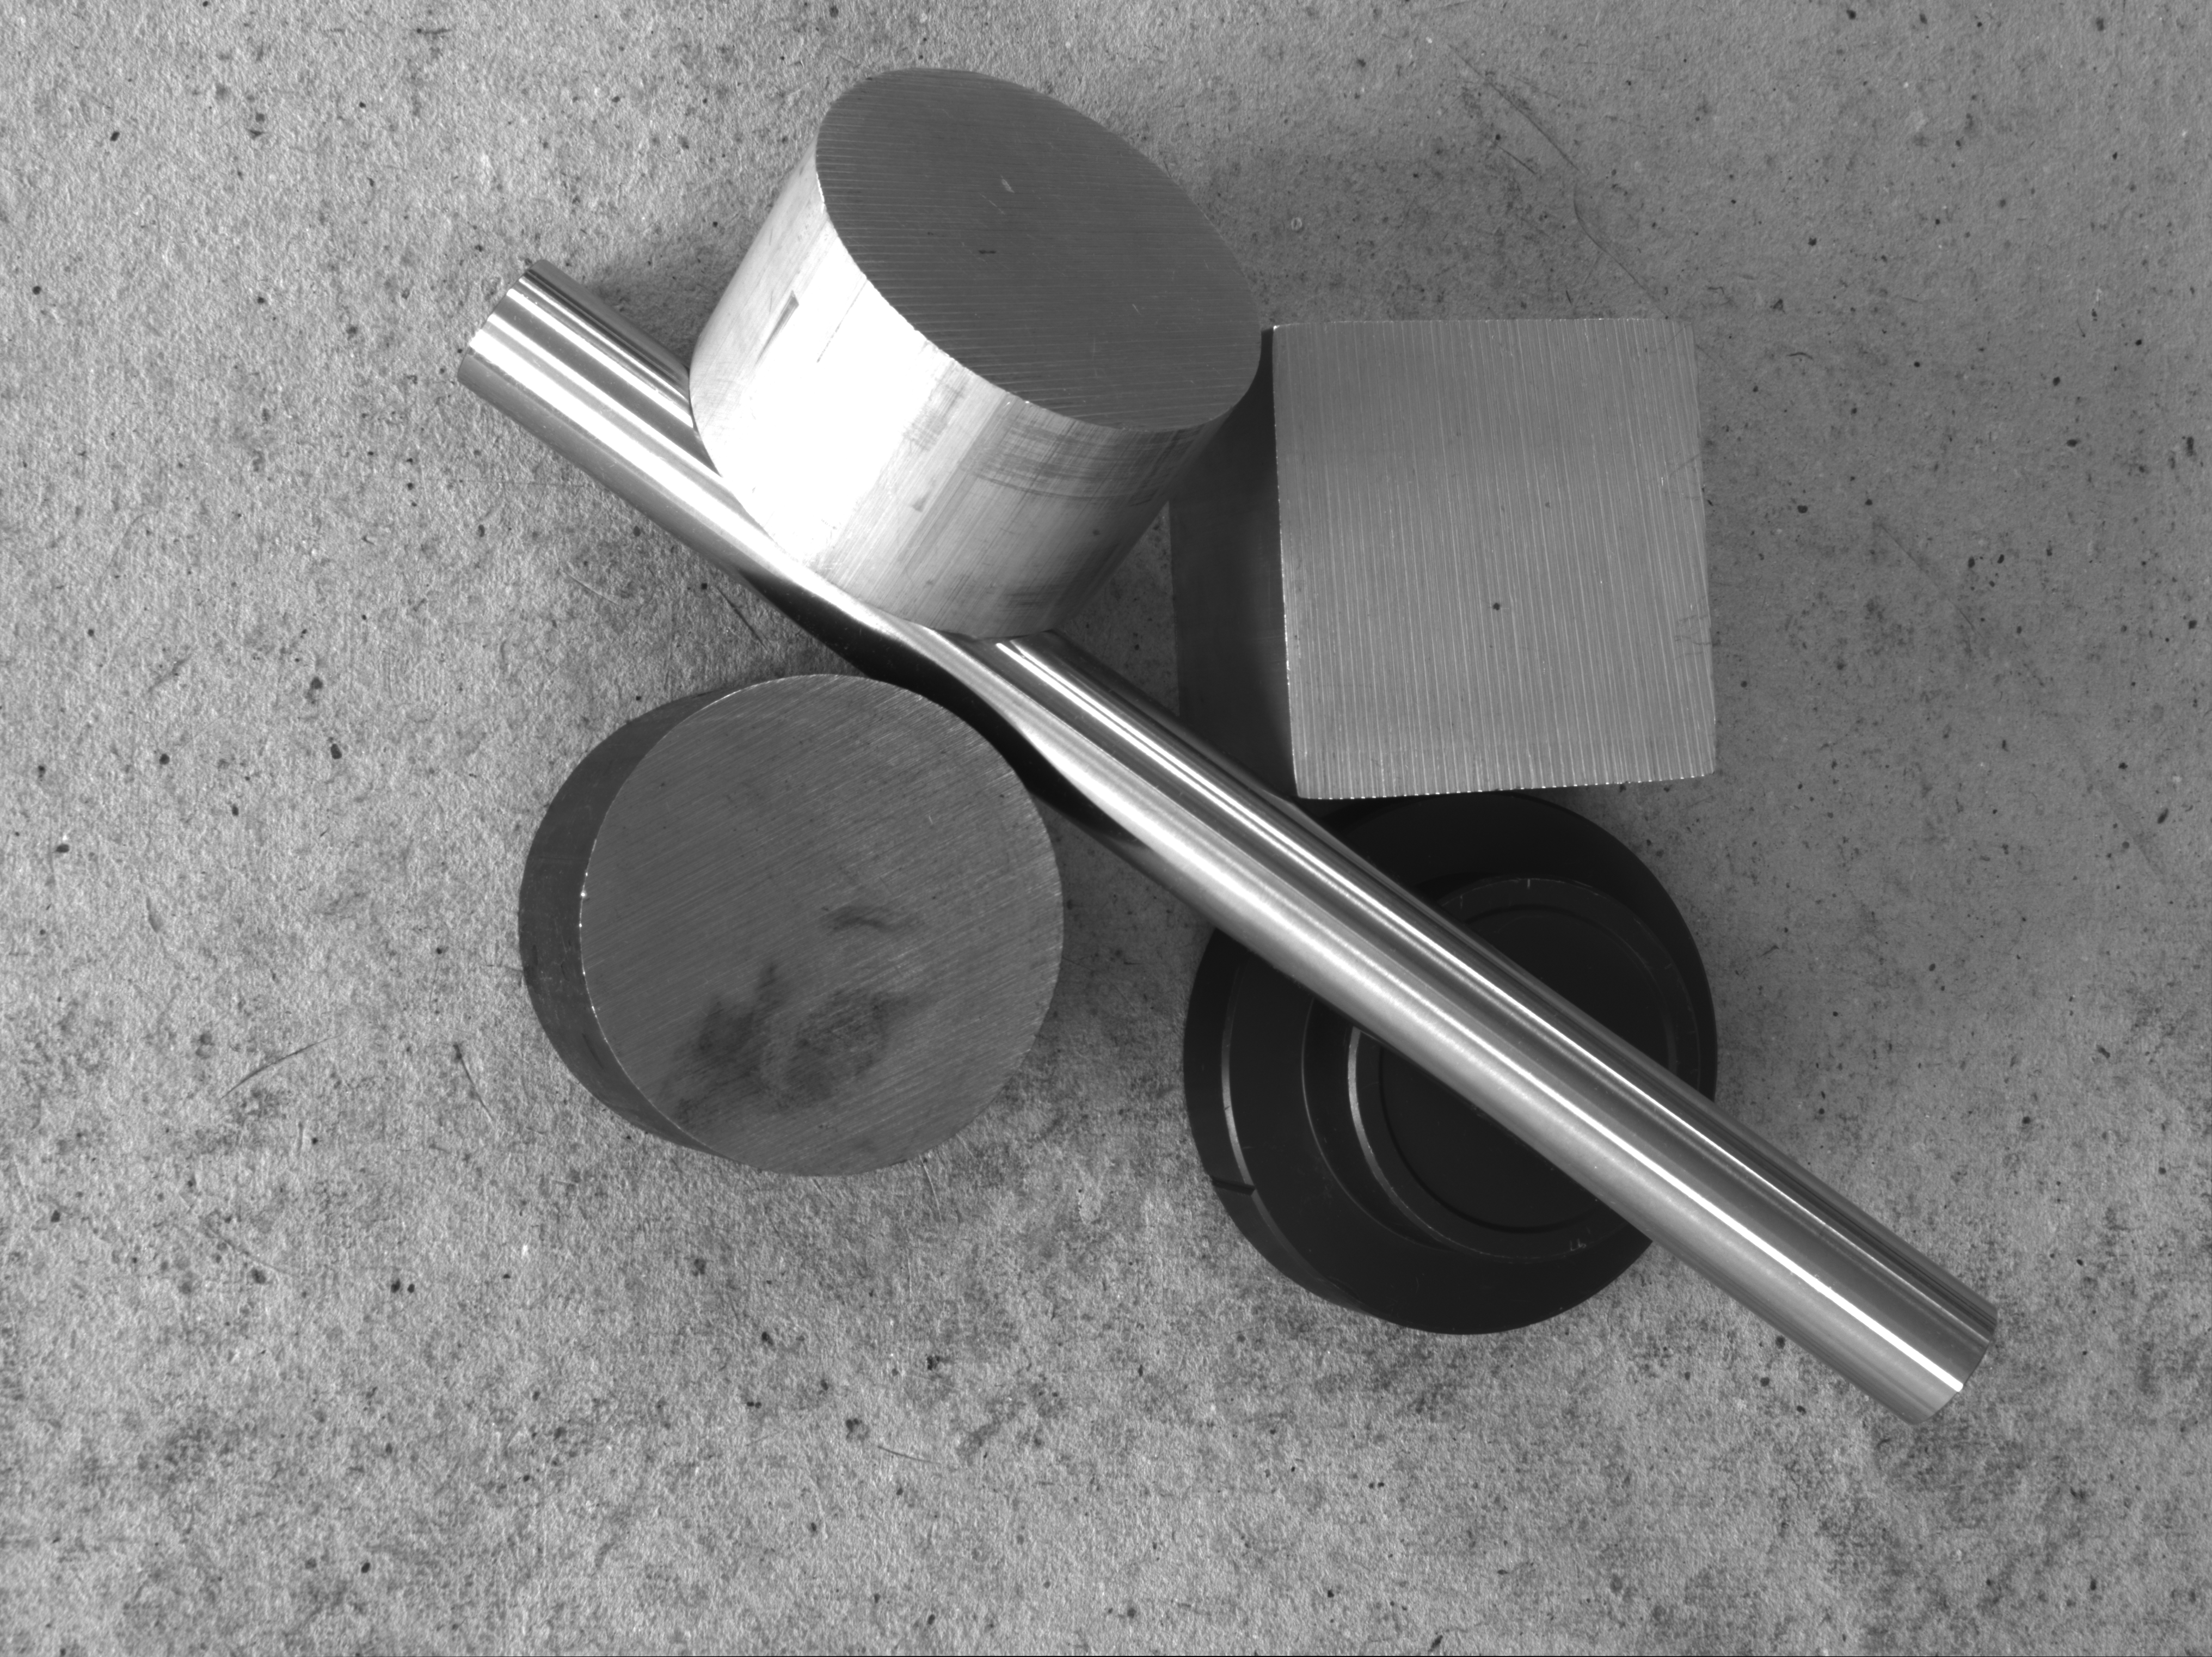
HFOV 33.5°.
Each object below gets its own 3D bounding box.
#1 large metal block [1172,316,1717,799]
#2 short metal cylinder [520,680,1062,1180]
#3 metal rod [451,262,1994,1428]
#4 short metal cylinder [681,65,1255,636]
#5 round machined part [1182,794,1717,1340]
[{"bbox_3d":[0.058,-0.047,0.649,0.080,0.050,0.080,-3,91,-20],"label":"large metal block"},{"bbox_3d":[-0.053,0.016,0.612,0.080,0.050,0.080,0,90,-20],"label":"short metal cylinder"},{"bbox_3d":[0.021,0.004,0.615,0.300,0.025,0.025,36,78,-3],"label":"metal rod"},{"bbox_3d":[-0.023,-0.078,0.602,0.080,0.050,0.080,20,43,-20],"label":"short metal cylinder"},{"bbox_3d":[0.067,0.043,0.658,0.098,0.042,0.098,0,90,-20],"label":"round machined part"}]
